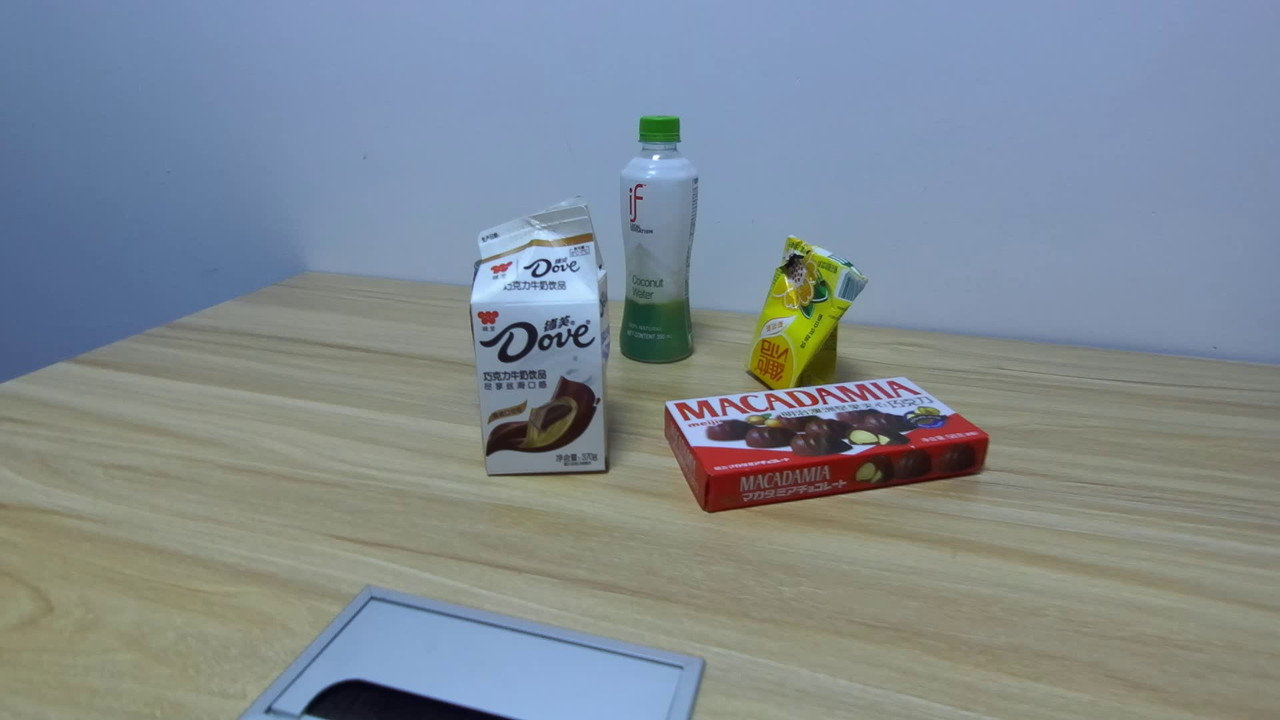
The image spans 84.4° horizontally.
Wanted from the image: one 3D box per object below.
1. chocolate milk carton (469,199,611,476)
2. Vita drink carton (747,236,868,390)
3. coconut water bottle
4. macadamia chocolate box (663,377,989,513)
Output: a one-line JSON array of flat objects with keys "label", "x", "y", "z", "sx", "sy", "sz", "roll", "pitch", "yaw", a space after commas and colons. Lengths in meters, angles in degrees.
[{"label": "chocolate milk carton", "x": -0.055, "y": -0.017, "z": 0.425, "sx": 0.076, "sy": 0.155, "sz": 0.073, "roll": -1, "pitch": 22, "yaw": -2}, {"label": "Vita drink carton", "x": 0.125, "y": -0.030, "z": 0.526, "sx": 0.042, "sy": 0.108, "sz": 0.086, "roll": 5, "pitch": 21, "yaw": -28}, {"label": "coconut water bottle", "x": 0.015, "y": -0.094, "z": 0.566, "sx": 0.063, "sy": 0.188, "sz": 0.063, "roll": 1, "pitch": 20, "yaw": 0}, {"label": "macadamia chocolate box", "x": 0.111, "y": 0.048, "z": 0.444, "sx": 0.178, "sy": 0.027, "sz": 0.095, "roll": -5, "pitch": 23, "yaw": -13}]
